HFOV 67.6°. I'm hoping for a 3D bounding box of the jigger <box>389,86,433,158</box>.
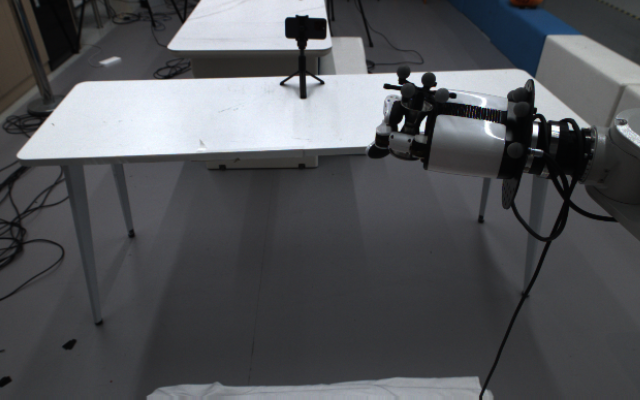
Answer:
[{"bbox_3d":[0.117,-0.090,0.621,0.043,0.071,0.043,7,32,-4],"label":"jigger"}]
